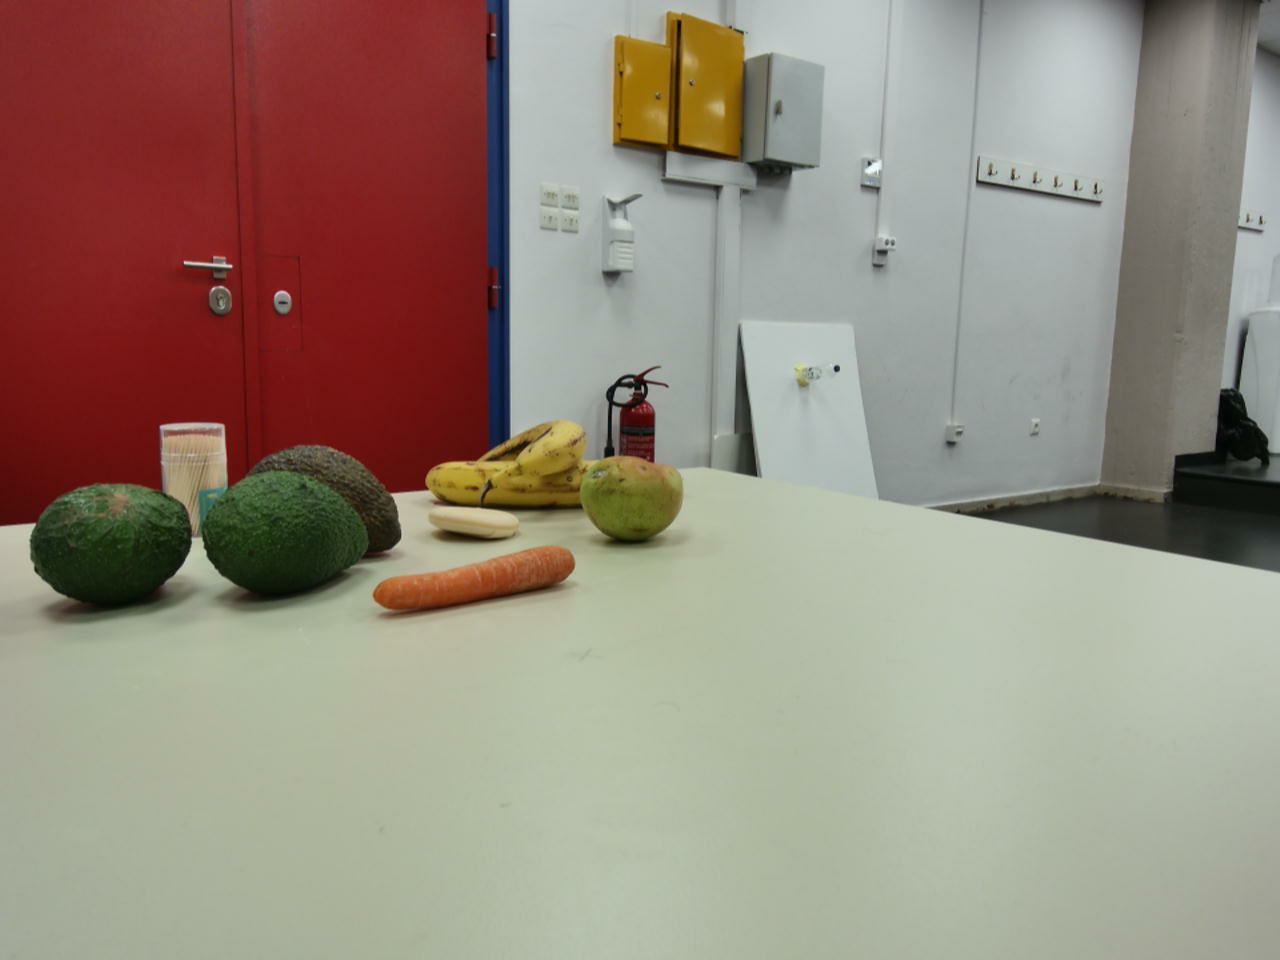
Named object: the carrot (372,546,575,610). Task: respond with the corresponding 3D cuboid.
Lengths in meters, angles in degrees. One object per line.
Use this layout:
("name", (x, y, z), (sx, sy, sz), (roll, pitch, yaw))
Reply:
("carrot", (-0.086, 0.053, 0.541), (0.122, 0.023, 0.024), (-5, 9, -39))
